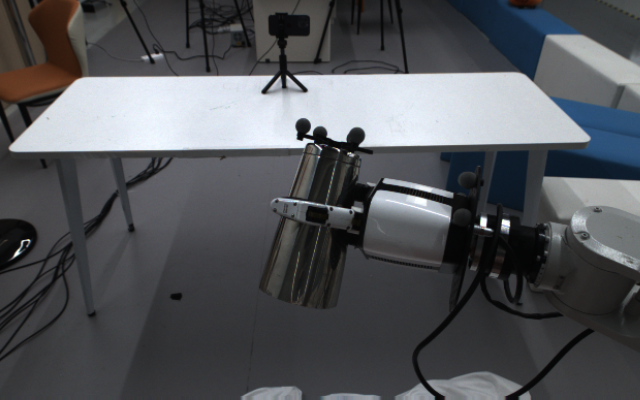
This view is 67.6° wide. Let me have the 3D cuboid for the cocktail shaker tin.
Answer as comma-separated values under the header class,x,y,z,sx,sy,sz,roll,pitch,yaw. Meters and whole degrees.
class,x,y,z,sx,sy,sz,roll,pitch,yaw
cocktail shaker tin,-0.004,0.026,0.552,0.093,0.170,0.093,13,2,0
